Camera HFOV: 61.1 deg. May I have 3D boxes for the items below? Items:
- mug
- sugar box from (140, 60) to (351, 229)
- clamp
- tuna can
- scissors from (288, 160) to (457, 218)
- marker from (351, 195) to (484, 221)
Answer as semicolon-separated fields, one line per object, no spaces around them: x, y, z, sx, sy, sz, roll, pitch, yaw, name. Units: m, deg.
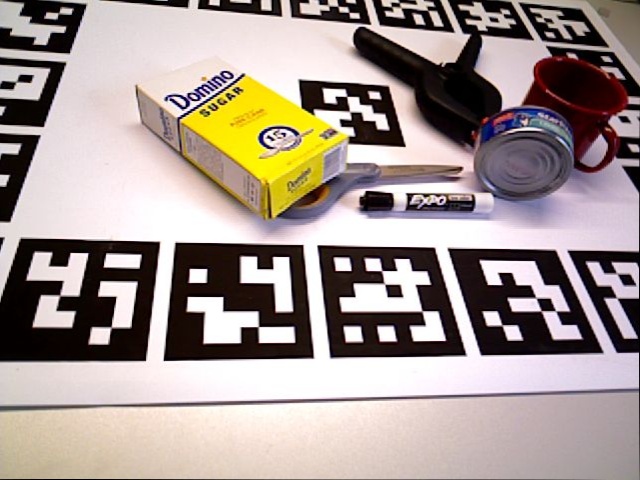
0.236;-0.113;0.536;0.091;0.083;0.117;-24;57;-27;mug
-0.068;-0.091;0.472;0.091;0.046;0.176;-34;59;-31;sugar box
0.132;-0.167;0.596;0.163;0.037;0.201;-9;56;-18;clamp
0.186;-0.075;0.490;0.085;0.088;0.033;14;50;0;tuna can
0.036;-0.063;0.491;0.200;0.016;0.087;-8;50;-19;scissors
0.085;-0.028;0.477;0.120;0.020;0.019;-3;54;-12;marker
